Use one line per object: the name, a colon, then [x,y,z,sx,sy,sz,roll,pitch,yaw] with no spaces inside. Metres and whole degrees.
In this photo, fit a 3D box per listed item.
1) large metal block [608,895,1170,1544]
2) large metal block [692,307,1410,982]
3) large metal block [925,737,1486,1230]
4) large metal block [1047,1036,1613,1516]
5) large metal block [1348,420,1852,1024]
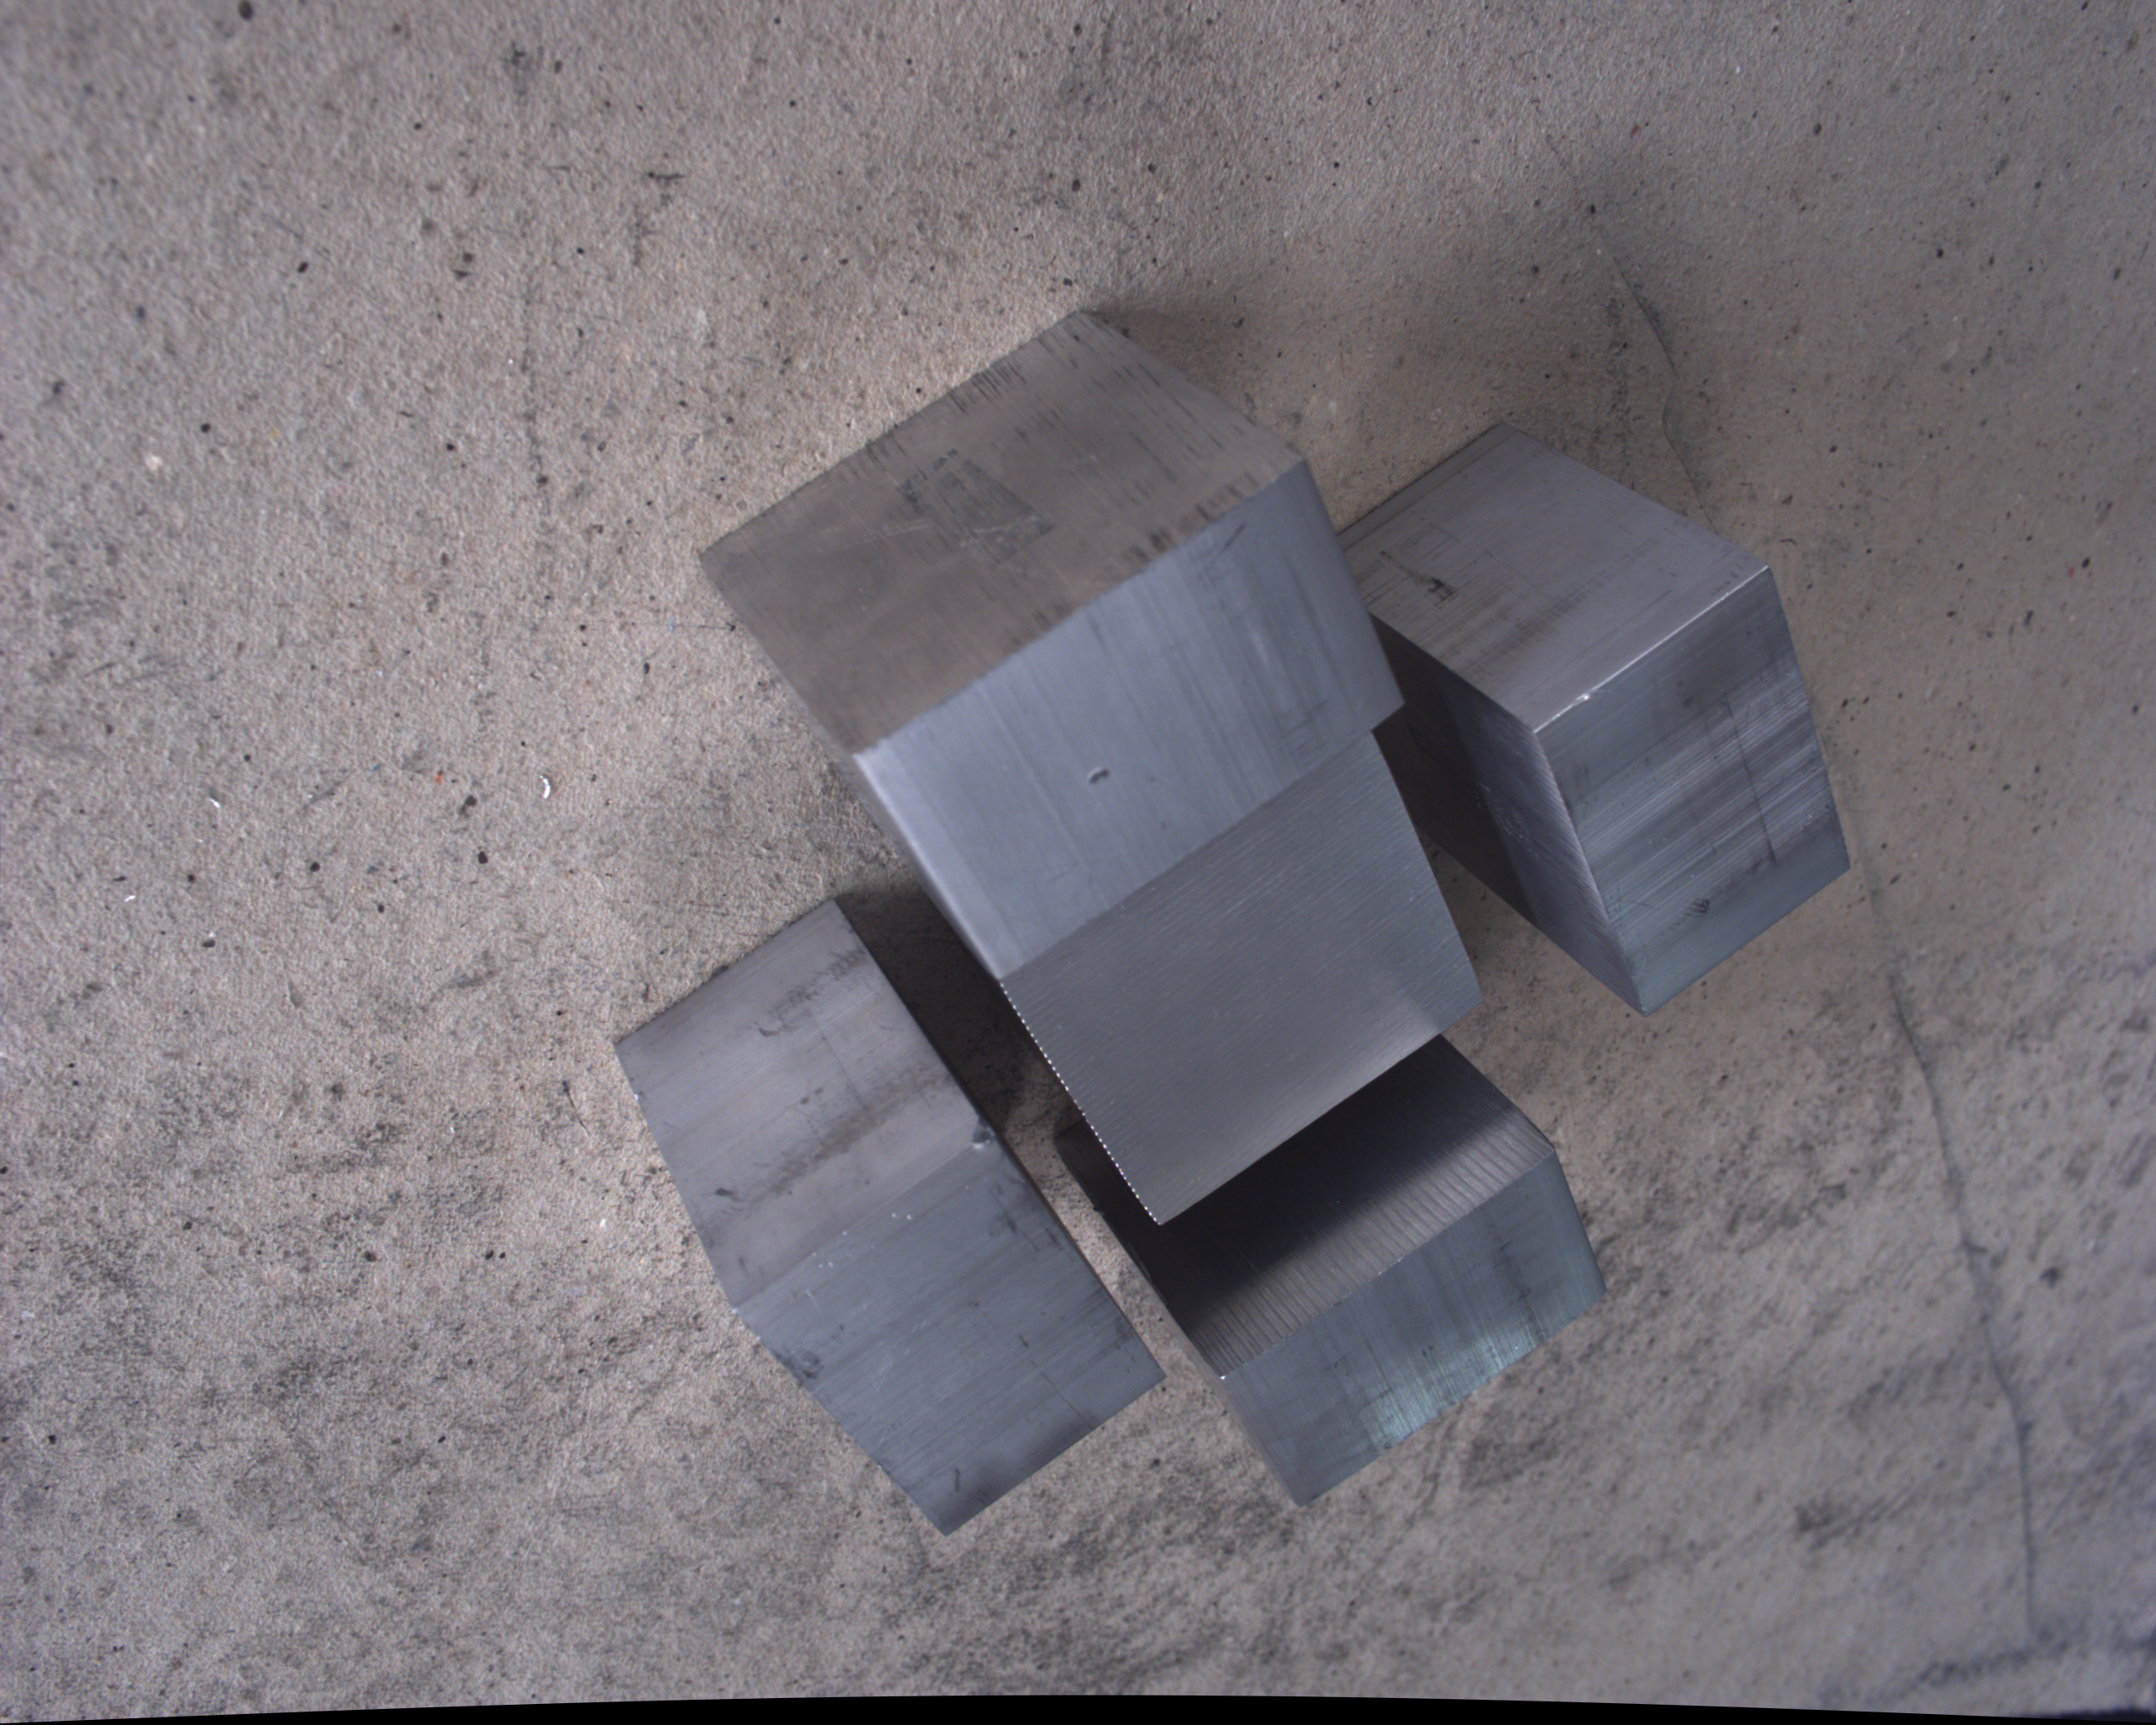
large metal block: [-0.036,0.066,0.393,0.050,0.080,0.080,-35,129,-5]
large metal block: [-0.006,-0.039,0.346,0.080,0.080,0.050,-34,129,-6]
large metal block: [0.023,0.011,0.408,0.080,0.050,0.080,-34,129,-6]
large metal block: [0.053,0.076,0.448,0.080,0.080,0.050,-33,128,-7]
large metal block: [0.096,-0.029,0.407,0.050,0.080,0.080,-36,129,-5]
